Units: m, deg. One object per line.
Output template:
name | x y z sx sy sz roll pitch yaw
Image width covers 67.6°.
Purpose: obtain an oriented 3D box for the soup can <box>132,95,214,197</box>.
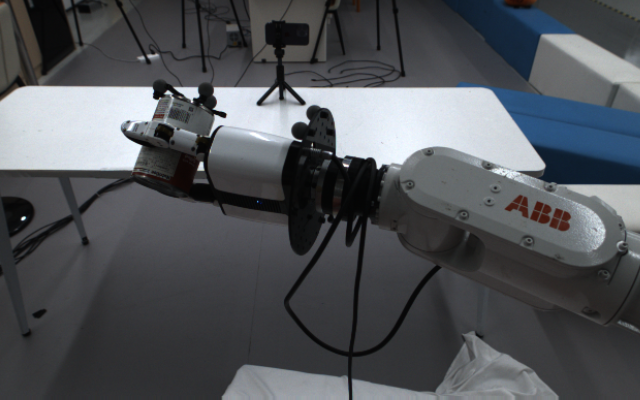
soup can | -0.169 -0.060 0.561 0.067 0.067 0.101 13 77 15
